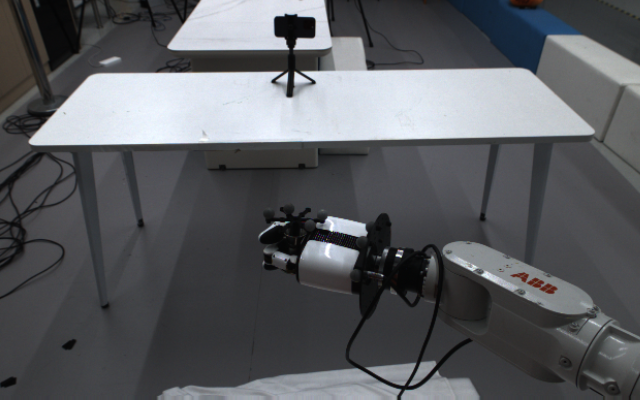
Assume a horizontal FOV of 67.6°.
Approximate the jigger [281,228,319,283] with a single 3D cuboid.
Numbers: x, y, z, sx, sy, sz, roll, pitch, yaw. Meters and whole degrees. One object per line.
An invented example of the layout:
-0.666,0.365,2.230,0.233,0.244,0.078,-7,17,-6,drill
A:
-0.036,0.075,0.759,0.043,0.071,0.043,3,25,-1,jigger
